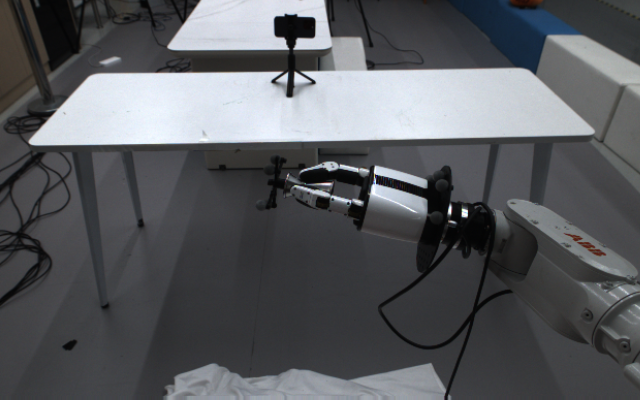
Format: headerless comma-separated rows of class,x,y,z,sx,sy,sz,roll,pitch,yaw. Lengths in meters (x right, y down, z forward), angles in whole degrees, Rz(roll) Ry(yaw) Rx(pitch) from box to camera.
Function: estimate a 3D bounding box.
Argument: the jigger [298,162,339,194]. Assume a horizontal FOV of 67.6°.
jigger,-0.009,-0.018,0.708,0.071,0.043,0.043,12,36,5
